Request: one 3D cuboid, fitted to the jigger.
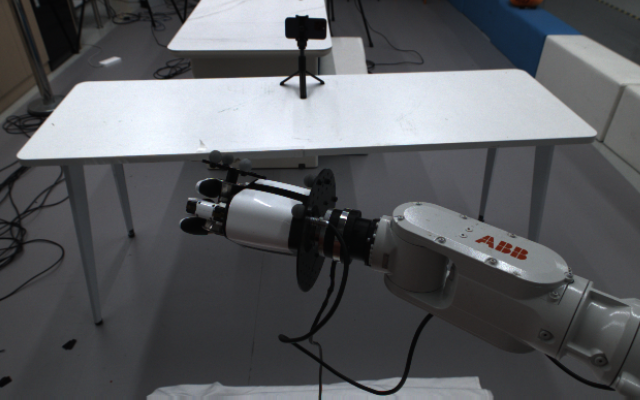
[{"bbox_3d":[-0.127,0.008,0.644,0.043,0.071,0.043,17,2,-1],"label":"jigger"}]
